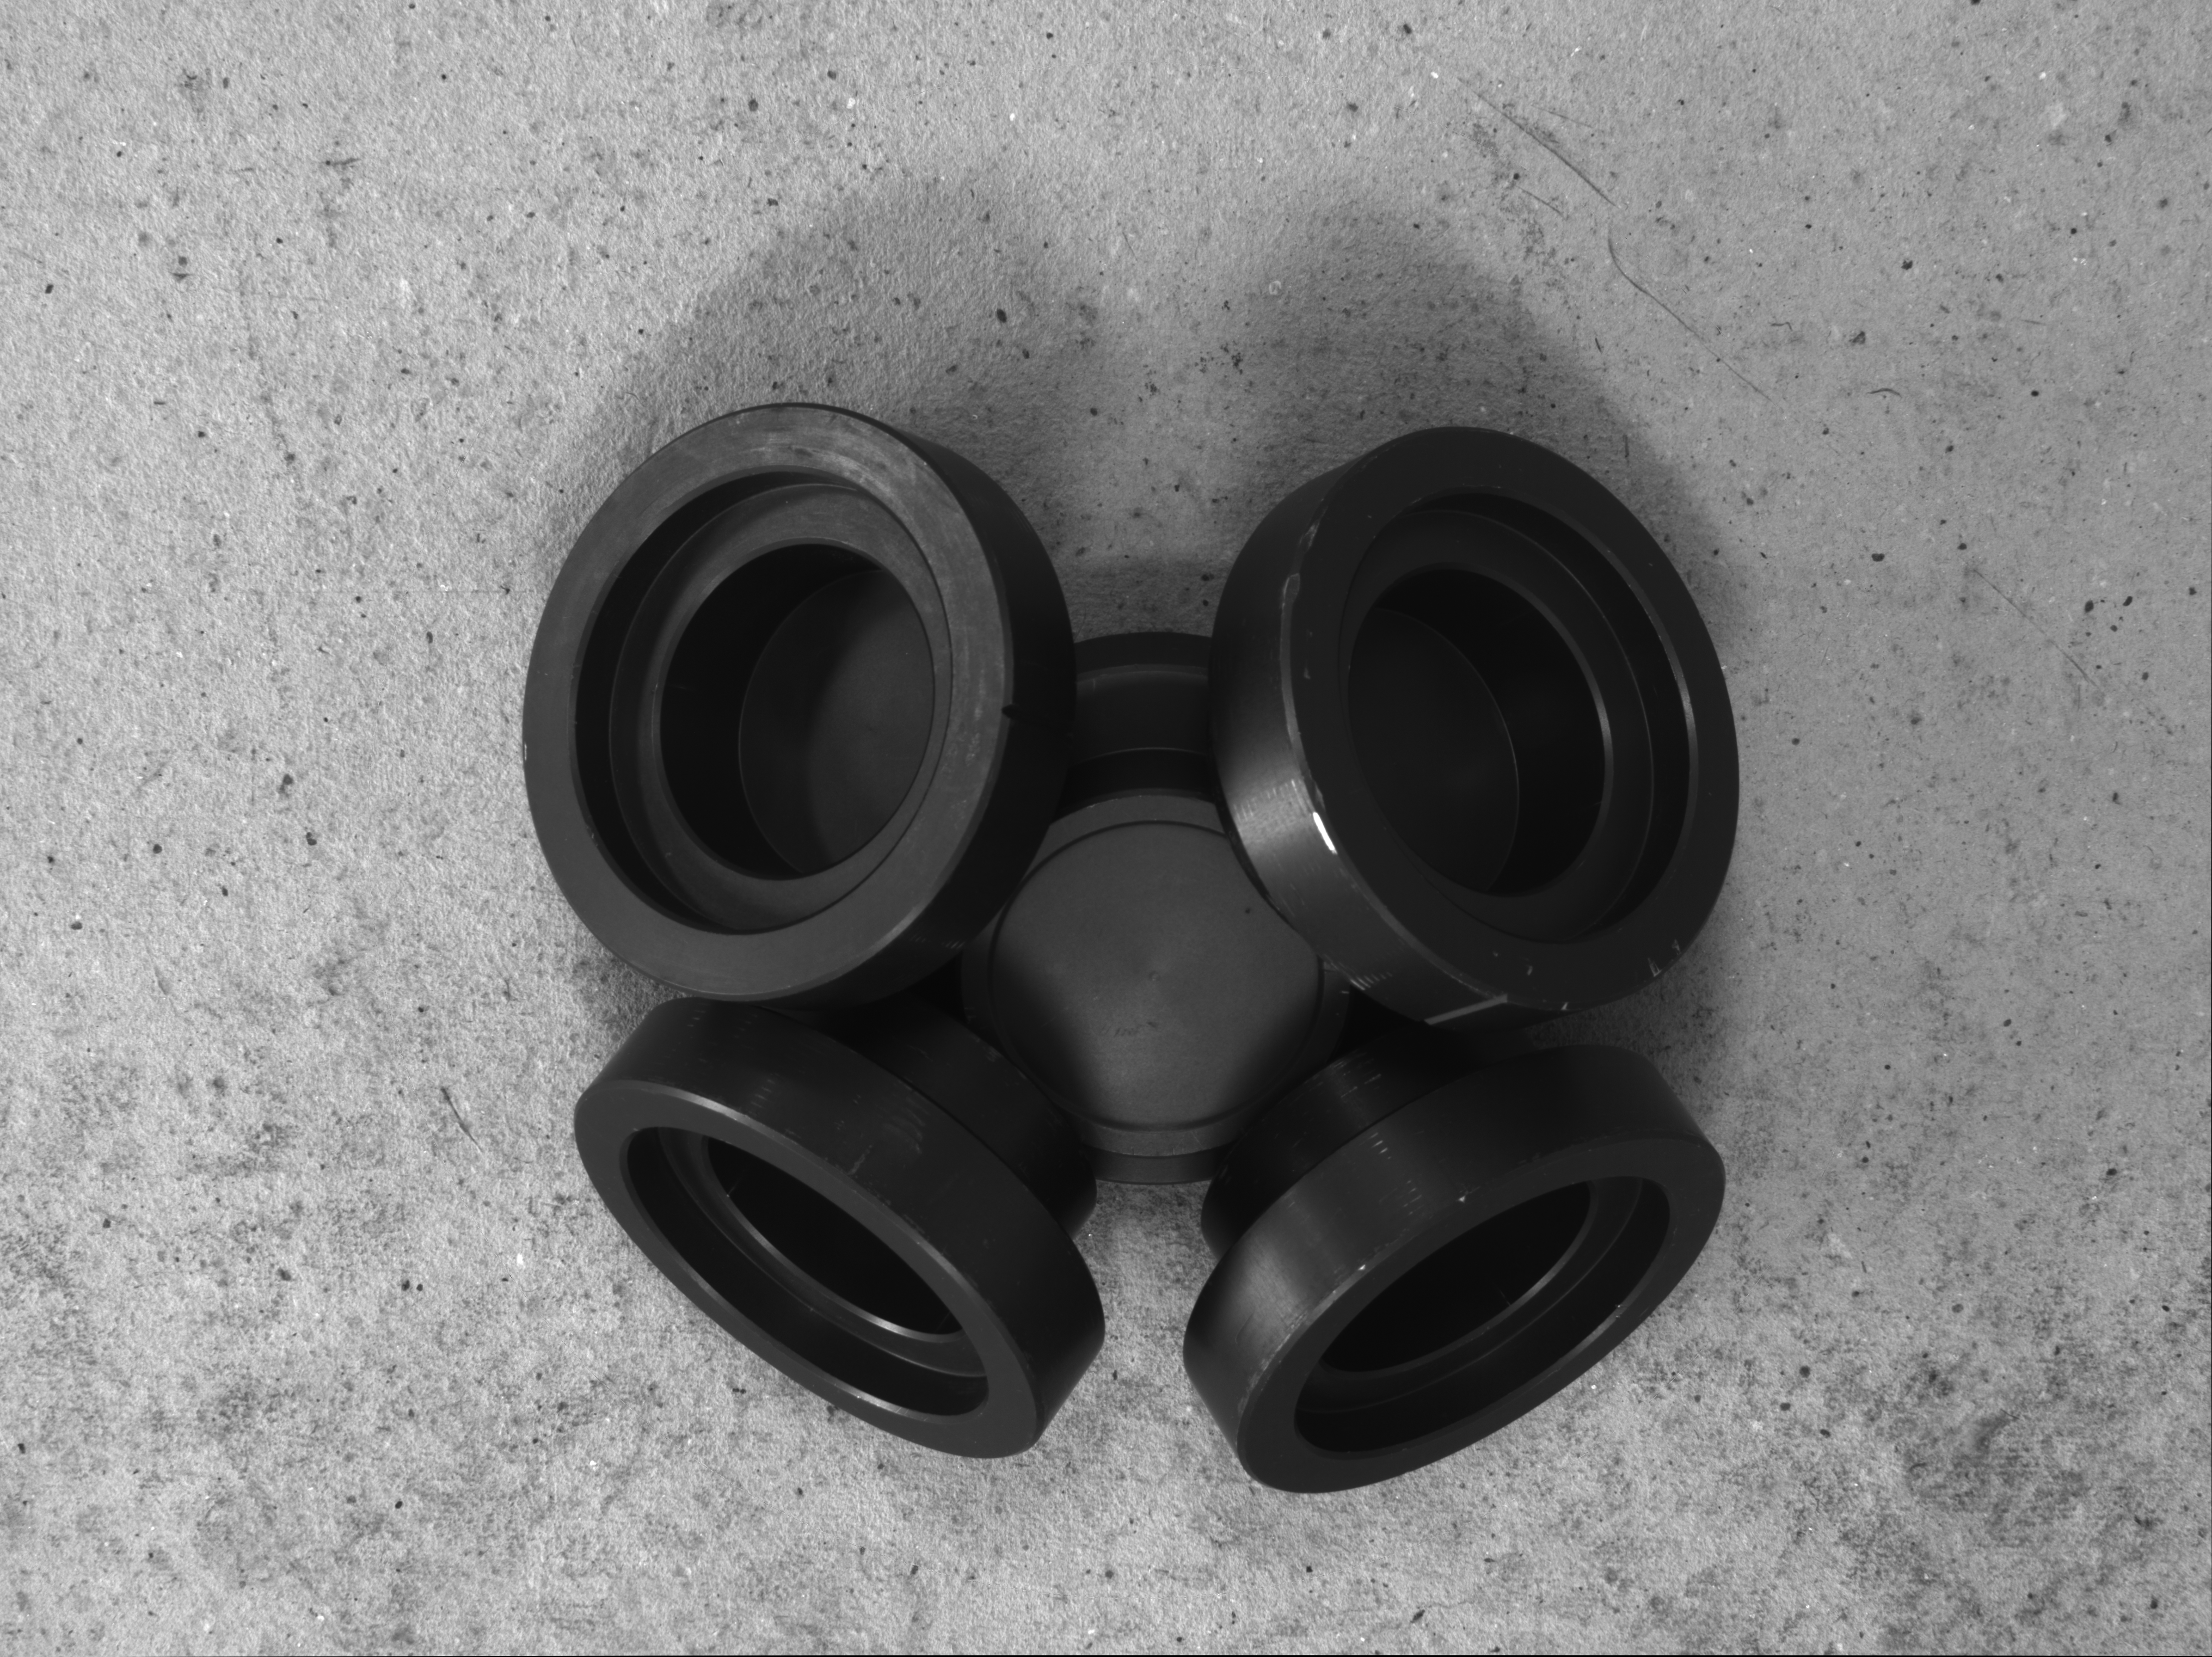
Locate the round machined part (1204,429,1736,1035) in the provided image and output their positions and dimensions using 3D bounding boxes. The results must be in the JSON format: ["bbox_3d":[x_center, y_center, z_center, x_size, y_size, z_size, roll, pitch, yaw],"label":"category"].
[{"bbox_3d":[0.056,-0.013,0.611,0.098,0.098,0.042,48,144,-15],"label":"round machined part"}]

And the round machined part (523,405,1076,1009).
[{"bbox_3d":[-0.046,-0.018,0.611,0.098,0.042,0.098,-5,80,30],"label":"round machined part"}]

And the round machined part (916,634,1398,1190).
[{"bbox_3d":[0.009,0.019,0.641,0.098,0.042,0.098,0,108,-1],"label":"round machined part"}]

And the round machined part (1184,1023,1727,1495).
[{"bbox_3d":[0.056,0.070,0.643,0.098,0.042,0.098,-23,147,-16],"label":"round machined part"}]

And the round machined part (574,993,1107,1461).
[{"bbox_3d":[-0.041,0.063,0.639,0.098,0.098,0.042,45,61,-14],"label":"round machined part"}]
